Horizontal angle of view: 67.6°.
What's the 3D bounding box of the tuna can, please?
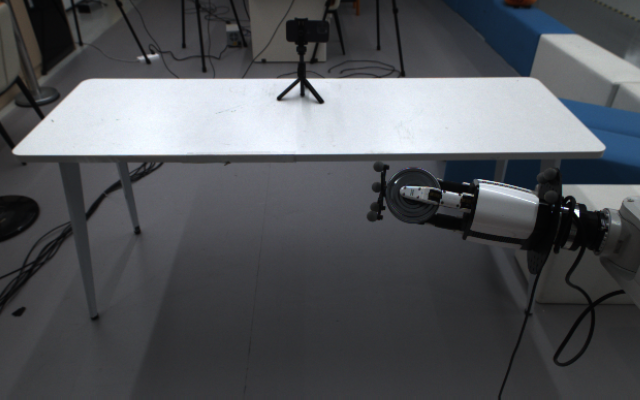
[{"bbox_3d":[0.147,-0.005,0.745,0.085,0.085,0.034,9,-7,10],"label":"tuna can"}]
